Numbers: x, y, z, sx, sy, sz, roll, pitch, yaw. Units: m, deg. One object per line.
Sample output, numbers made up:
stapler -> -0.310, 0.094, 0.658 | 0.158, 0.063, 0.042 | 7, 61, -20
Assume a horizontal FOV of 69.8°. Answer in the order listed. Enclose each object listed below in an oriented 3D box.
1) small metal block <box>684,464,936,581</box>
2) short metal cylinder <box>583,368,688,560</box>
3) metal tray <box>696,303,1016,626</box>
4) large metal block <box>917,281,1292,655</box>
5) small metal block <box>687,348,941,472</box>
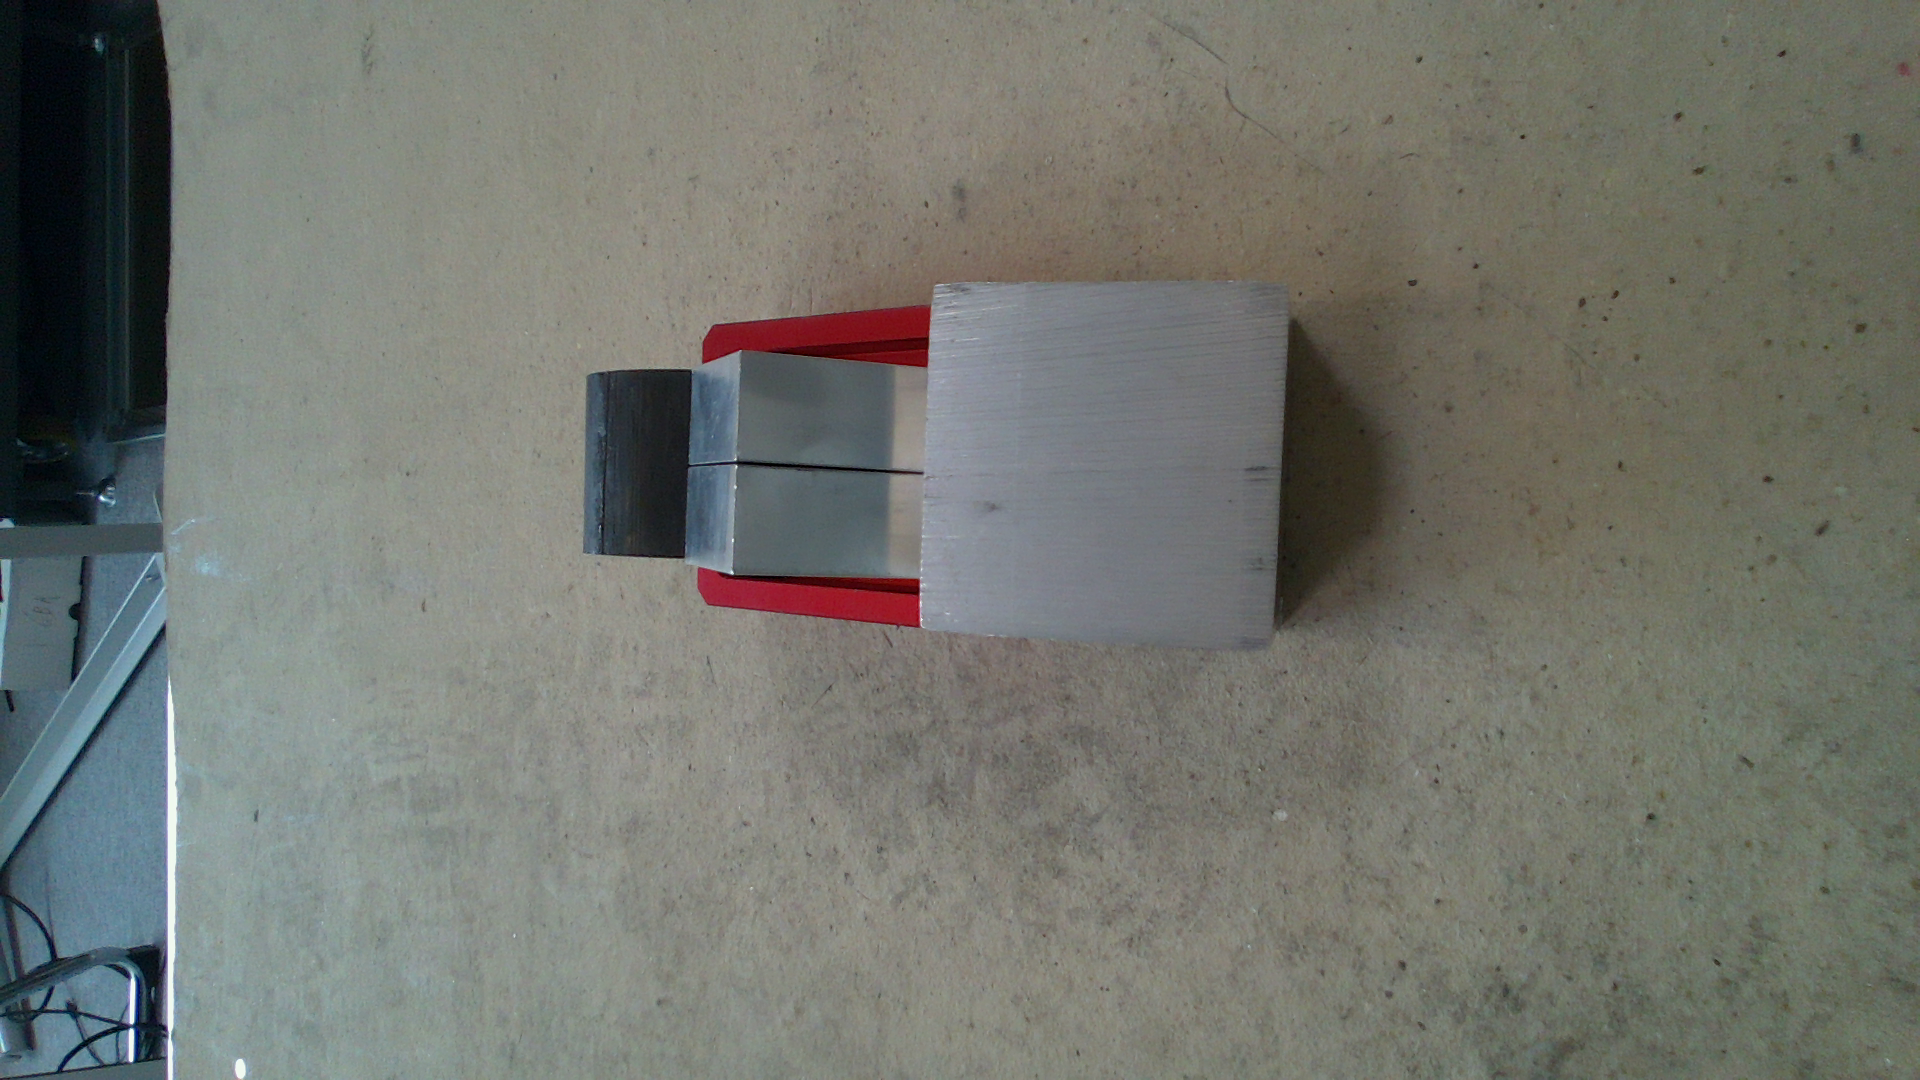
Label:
small metal block -> -0.038, -0.004, 0.341 | 0.050, 0.050, 0.025 | -176, 89, -66
short metal cylinder -> -0.067, -0.020, 0.399 | 0.080, 0.080, 0.050 | 1, 91, 40
metal tray -> -0.026, -0.022, 0.413 | 0.129, 0.030, 0.090 | 3, 92, 40
large metal block -> 0.037, -0.018, 0.329 | 0.080, 0.050, 0.080 | 3, 92, 14
small metal block -> -0.037, -0.030, 0.341 | 0.050, 0.050, 0.025 | -176, 89, -66
